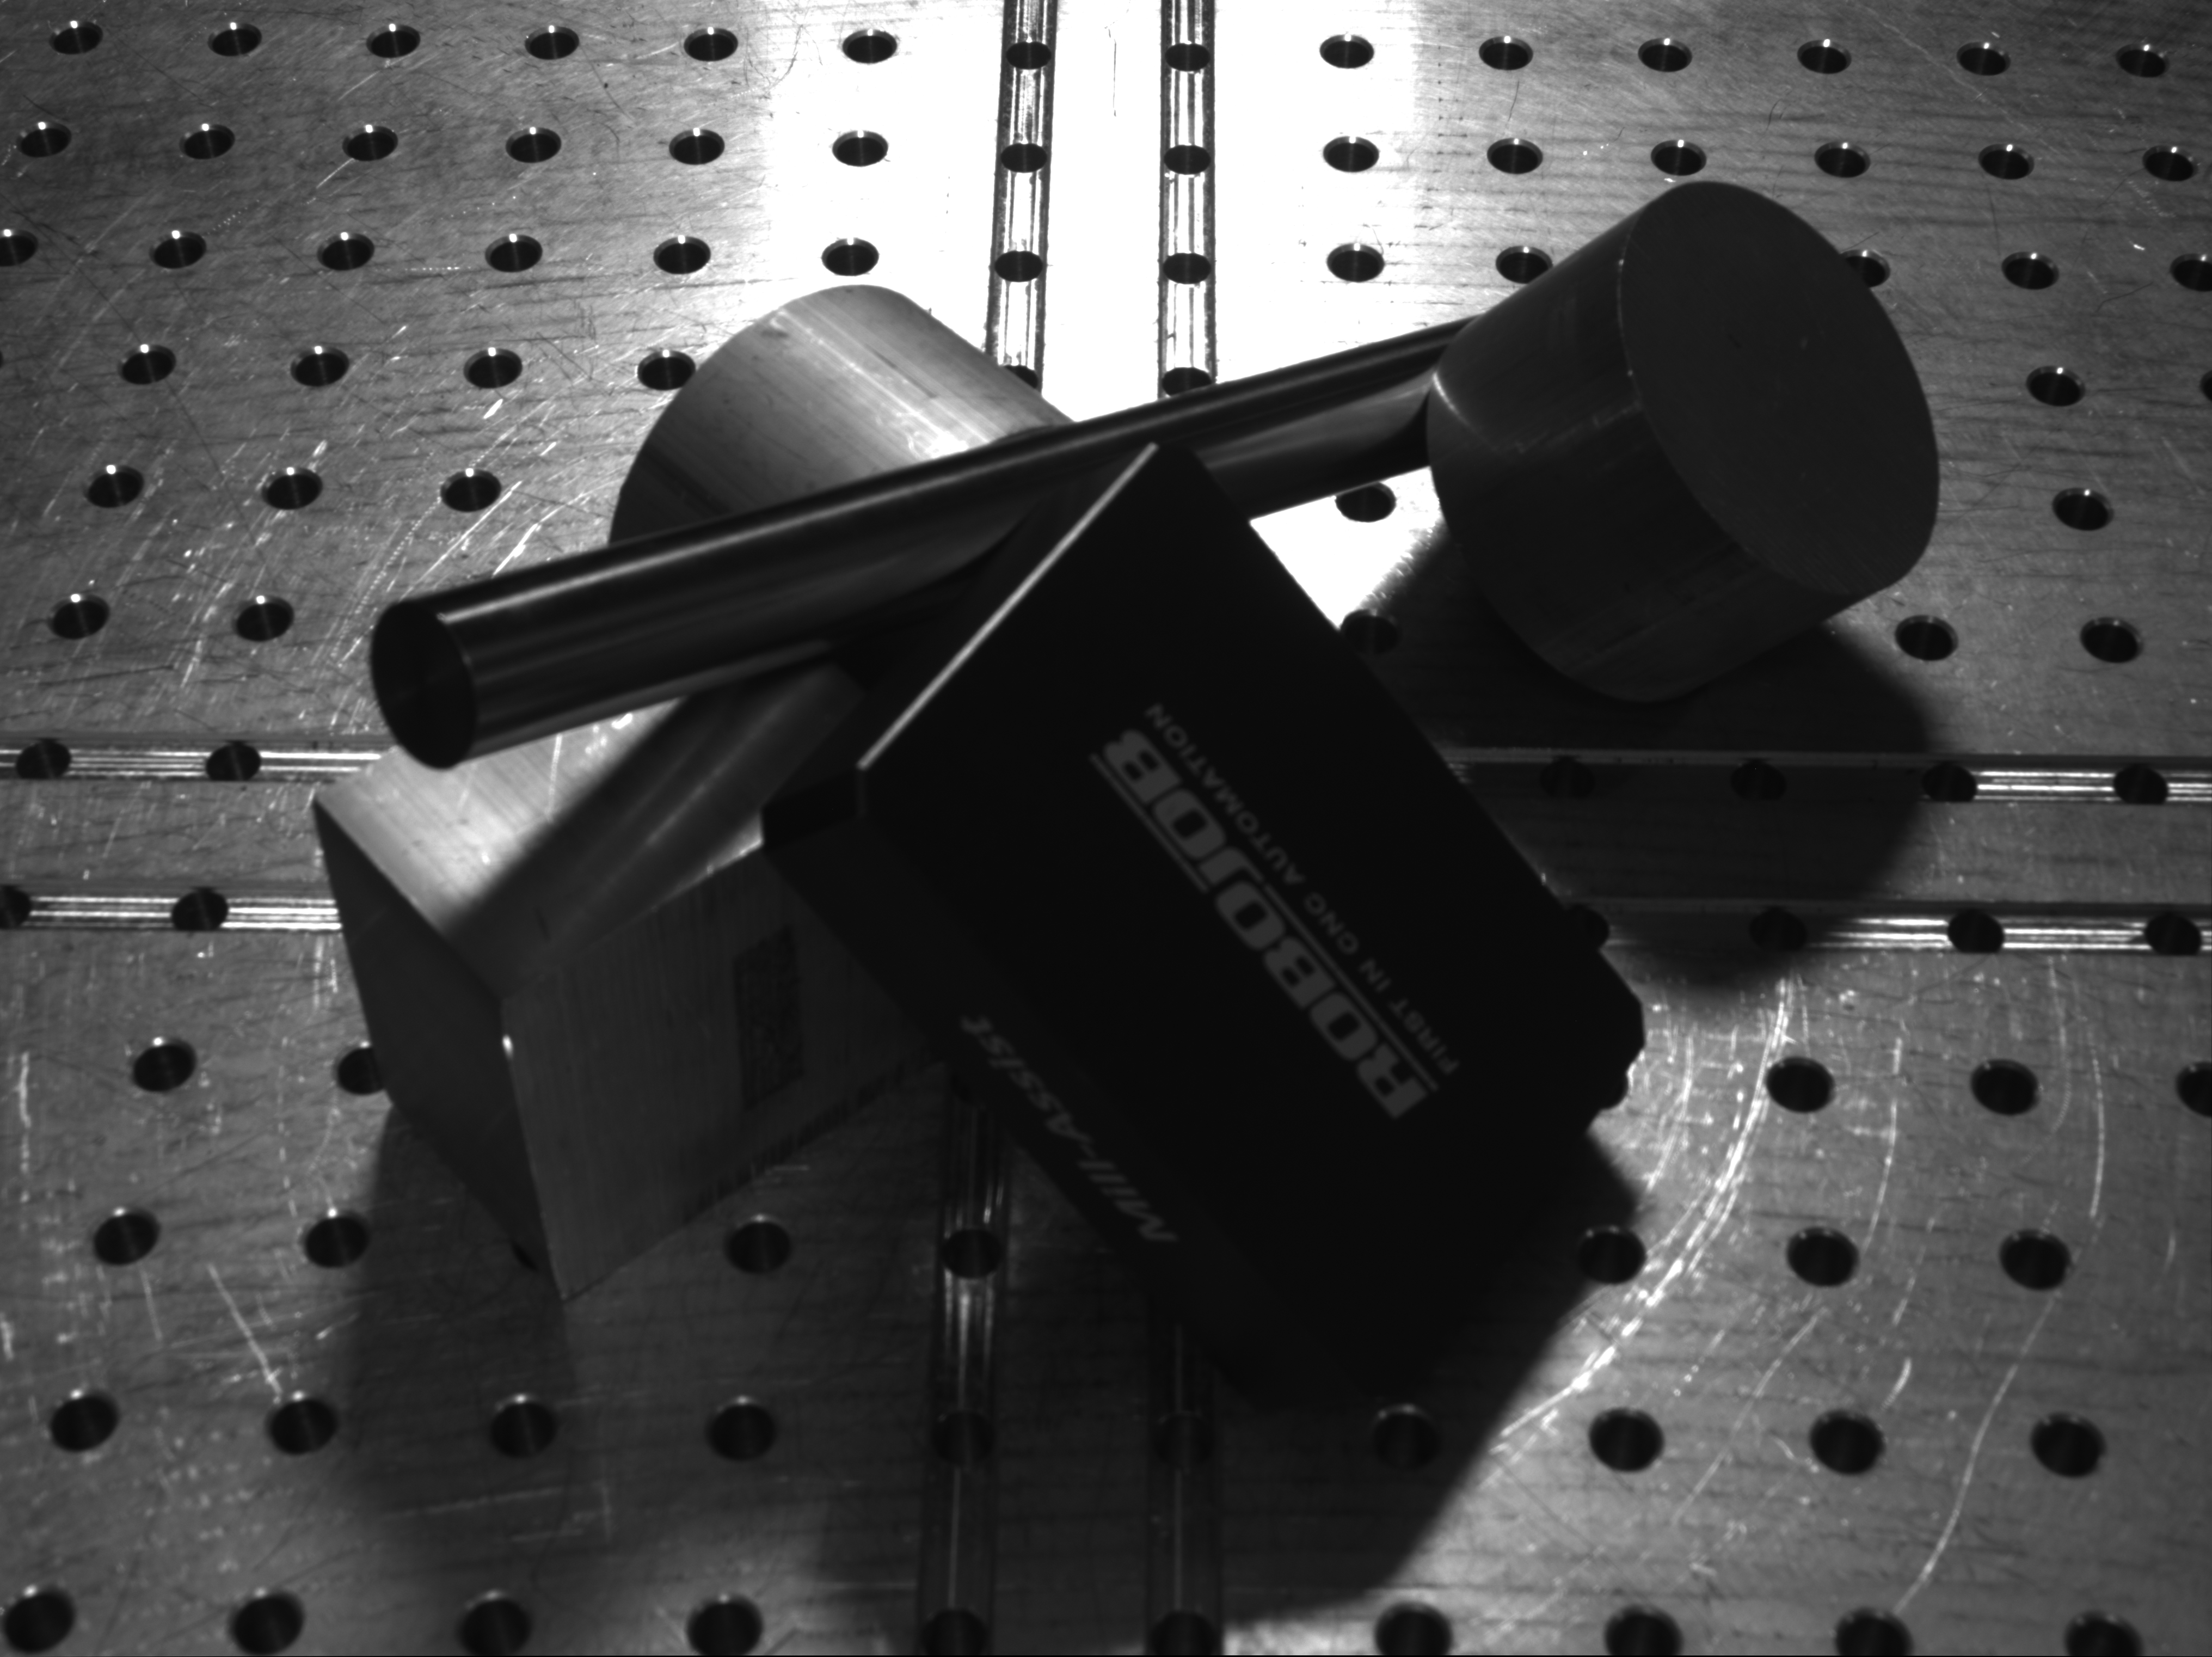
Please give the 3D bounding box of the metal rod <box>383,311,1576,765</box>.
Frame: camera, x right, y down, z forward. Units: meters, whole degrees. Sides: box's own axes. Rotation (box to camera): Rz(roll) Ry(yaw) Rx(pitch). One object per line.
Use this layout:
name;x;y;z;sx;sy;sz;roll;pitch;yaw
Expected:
metal rod;0.007;-0.060;0.626;0.025;0.025;0.301;39;39;28

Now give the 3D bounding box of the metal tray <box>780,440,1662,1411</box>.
metal tray;0.021;0.016;0.576;0.130;0.030;0.090;49;56;-15

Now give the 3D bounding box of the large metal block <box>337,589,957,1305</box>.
large metal block;-0.070;0.018;0.594;0.080;0.080;0.050;-32;57;-24

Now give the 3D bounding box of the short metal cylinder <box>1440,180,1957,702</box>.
short metal cylinder;0.107;-0.069;0.661;0.080;0.050;0.080;17;60;-32

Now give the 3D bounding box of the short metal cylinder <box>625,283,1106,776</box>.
short metal cylinder;-0.039;-0.049;0.651;0.080;0.080;0.050;-36;58;-26
